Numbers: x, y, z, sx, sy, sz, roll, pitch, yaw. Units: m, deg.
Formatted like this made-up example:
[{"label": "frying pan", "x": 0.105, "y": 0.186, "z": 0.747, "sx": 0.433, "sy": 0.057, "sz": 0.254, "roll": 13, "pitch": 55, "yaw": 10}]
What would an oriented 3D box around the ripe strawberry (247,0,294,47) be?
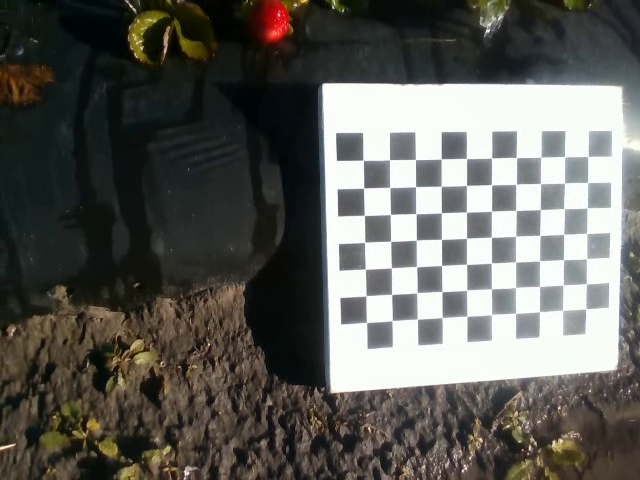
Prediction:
[{"label": "ripe strawberry", "x": -0.031, "y": -0.141, "z": 0.420, "sx": 0.039, "sy": 0.040, "sz": 0.039, "roll": -11, "pitch": 31, "yaw": 0}]
